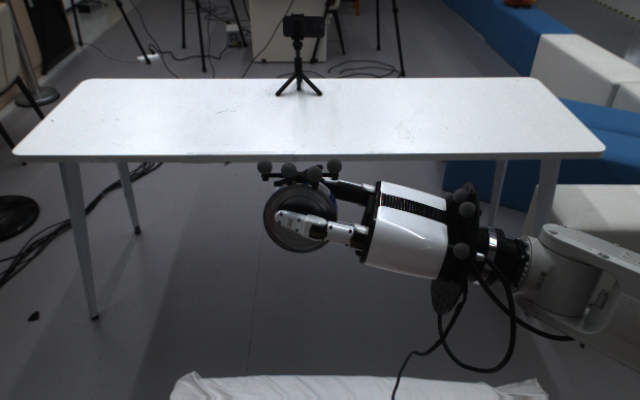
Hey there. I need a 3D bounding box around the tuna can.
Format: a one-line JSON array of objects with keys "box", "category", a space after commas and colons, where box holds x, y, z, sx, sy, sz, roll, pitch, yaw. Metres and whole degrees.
[{"box": [-0.019, 0.021, 0.567, 0.085, 0.085, 0.034, 4, 18, 3], "category": "tuna can"}]
